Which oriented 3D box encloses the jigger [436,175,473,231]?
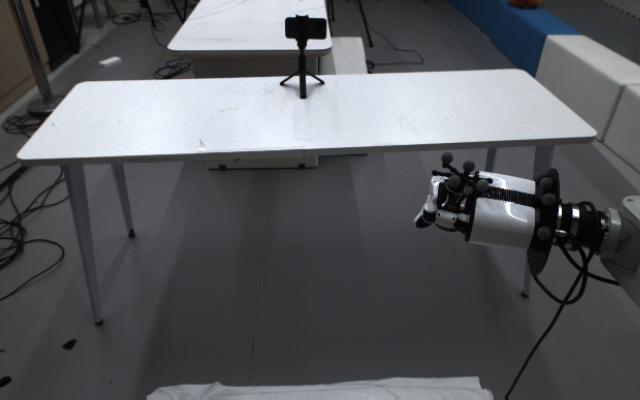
[{"bbox_3d":[0.203,0.009,0.738,0.043,0.071,0.043,7,32,-4],"label":"jigger"}]
